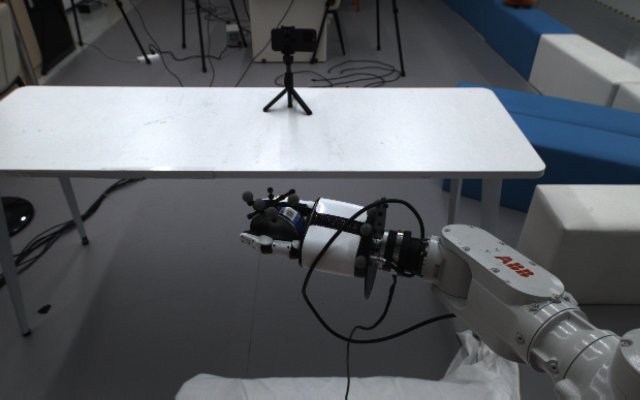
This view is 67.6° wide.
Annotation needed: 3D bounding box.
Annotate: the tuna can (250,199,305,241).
[{"bbox_3d":[-0.064,0.045,0.766,0.085,0.085,0.034,14,40,16],"label":"tuna can"}]
